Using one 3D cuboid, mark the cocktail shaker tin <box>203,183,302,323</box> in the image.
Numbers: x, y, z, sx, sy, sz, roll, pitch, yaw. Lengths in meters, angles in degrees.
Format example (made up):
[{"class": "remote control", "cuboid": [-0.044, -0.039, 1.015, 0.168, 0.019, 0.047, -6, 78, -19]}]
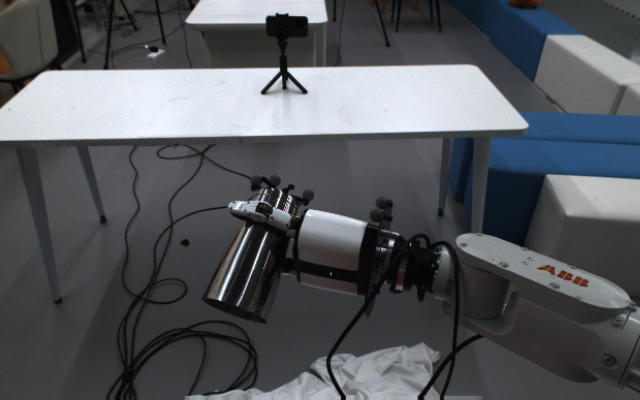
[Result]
[{"class": "cocktail shaker tin", "cuboid": [-0.084, 0.069, 0.663, 0.093, 0.093, 0.170, 12, 65, 15]}]
